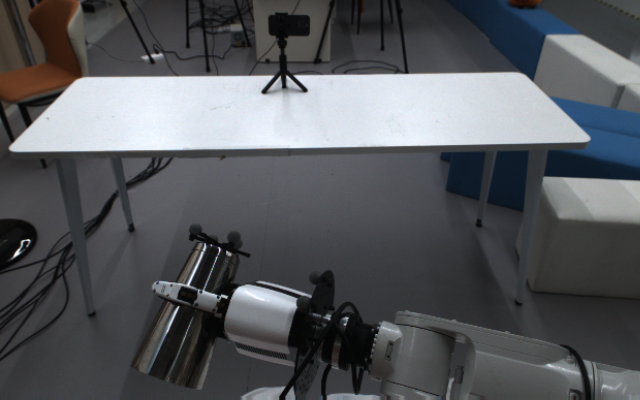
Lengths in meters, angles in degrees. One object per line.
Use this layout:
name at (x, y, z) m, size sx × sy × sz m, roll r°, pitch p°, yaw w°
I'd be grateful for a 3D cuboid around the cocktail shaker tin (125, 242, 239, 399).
cocktail shaker tin at (-0.168, 0.146, 0.631) m, size 0.093 × 0.093 × 0.170 m, roll 14°, pitch 69°, yaw 16°
